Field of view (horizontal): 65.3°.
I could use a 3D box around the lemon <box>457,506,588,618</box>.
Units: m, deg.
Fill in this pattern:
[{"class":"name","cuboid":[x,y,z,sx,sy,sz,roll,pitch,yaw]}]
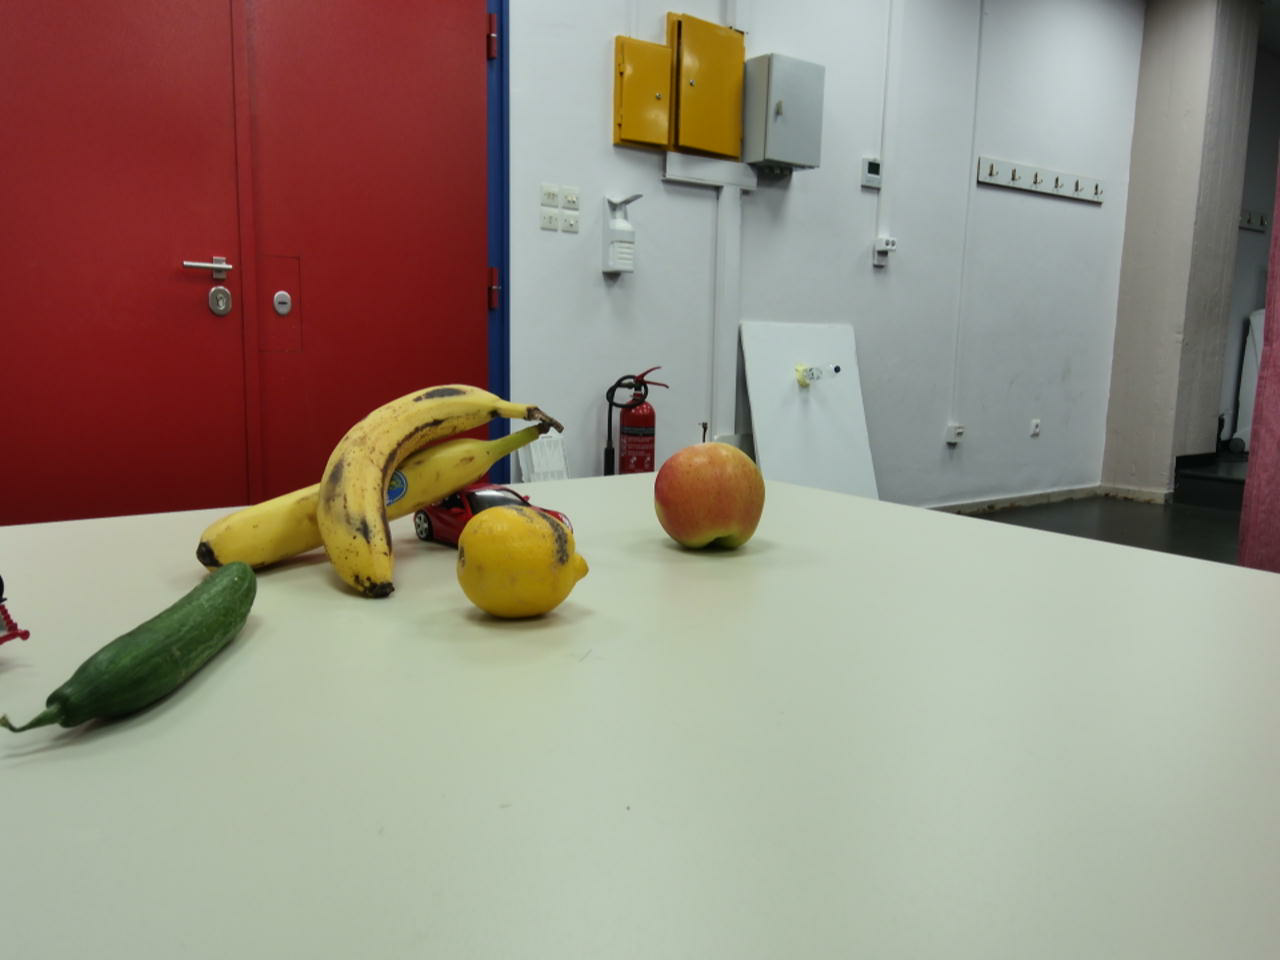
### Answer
[{"class":"lemon","cuboid":[-0.063,0.041,0.506,0.061,0.056,0.058,-6,9,-44]}]
